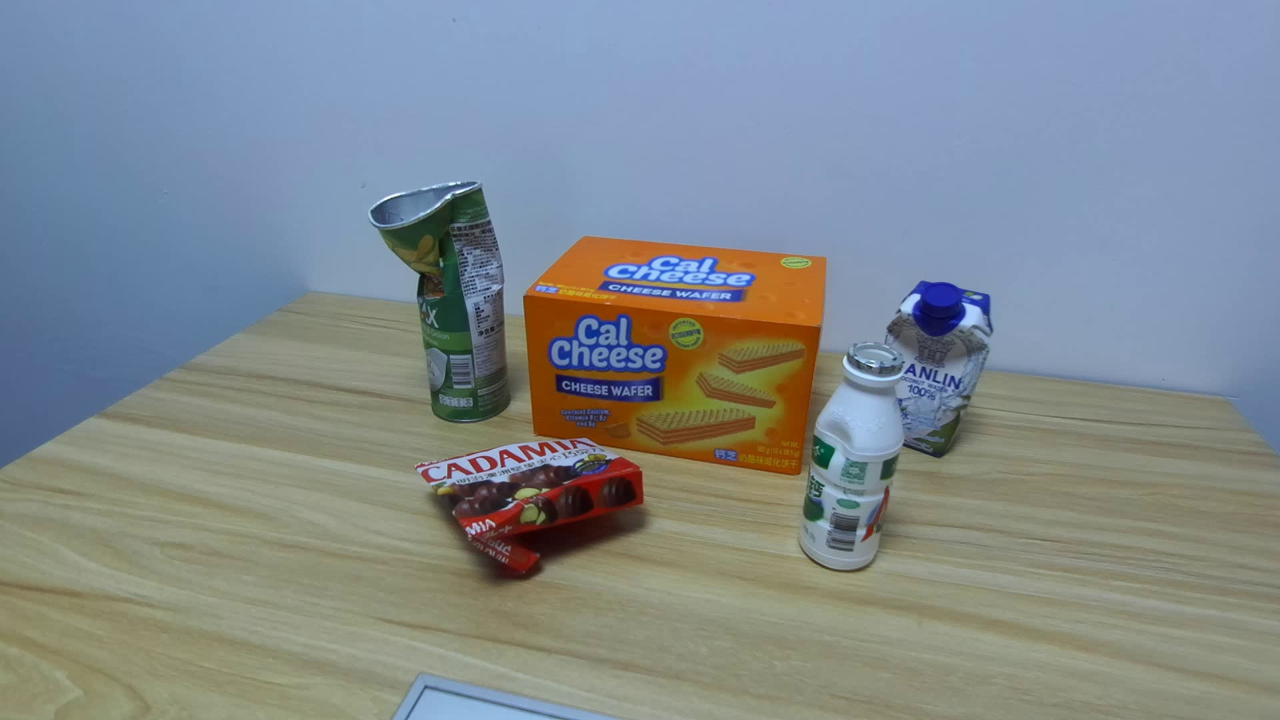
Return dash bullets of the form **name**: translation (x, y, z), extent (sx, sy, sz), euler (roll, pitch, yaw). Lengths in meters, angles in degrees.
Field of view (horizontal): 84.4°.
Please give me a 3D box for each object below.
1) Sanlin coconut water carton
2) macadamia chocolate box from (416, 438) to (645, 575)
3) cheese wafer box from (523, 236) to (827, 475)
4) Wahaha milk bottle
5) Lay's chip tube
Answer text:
- **Sanlin coconut water carton**: translation (0.228, 0.002, 0.552), extent (0.077, 0.142, 0.058), euler (18, 38, 30)
- **macadamia chocolate box**: translation (-0.074, 0.086, 0.481), extent (0.127, 0.056, 0.111), euler (-16, 33, -27)
- **cheese wafer box**: translation (0.036, -0.012, 0.586), extent (0.221, 0.129, 0.148), euler (7, 30, 12)
- **Wahaha milk bottle**: translation (0.130, 0.065, 0.433), extent (0.053, 0.137, 0.053), euler (0, 29, 0)
- **Lay's chip tube**: translation (-0.155, -0.042, 0.574), extent (0.078, 0.199, 0.071), euler (14, 39, 26)
